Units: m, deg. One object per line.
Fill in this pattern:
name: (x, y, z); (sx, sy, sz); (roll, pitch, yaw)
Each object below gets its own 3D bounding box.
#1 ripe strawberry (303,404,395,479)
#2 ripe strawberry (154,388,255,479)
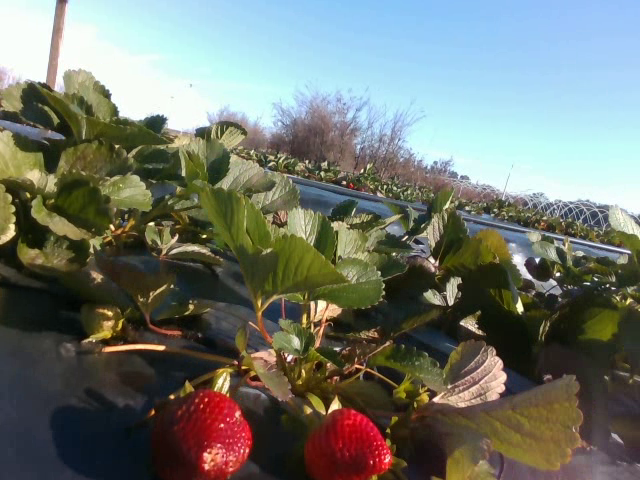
ripe strawberry: (0.016, 0.099, 0.272); (0.042, 0.039, 0.049); (-33, 16, -34)
ripe strawberry: (-0.049, 0.084, 0.243); (0.050, 0.045, 0.050); (28, -14, -9)
